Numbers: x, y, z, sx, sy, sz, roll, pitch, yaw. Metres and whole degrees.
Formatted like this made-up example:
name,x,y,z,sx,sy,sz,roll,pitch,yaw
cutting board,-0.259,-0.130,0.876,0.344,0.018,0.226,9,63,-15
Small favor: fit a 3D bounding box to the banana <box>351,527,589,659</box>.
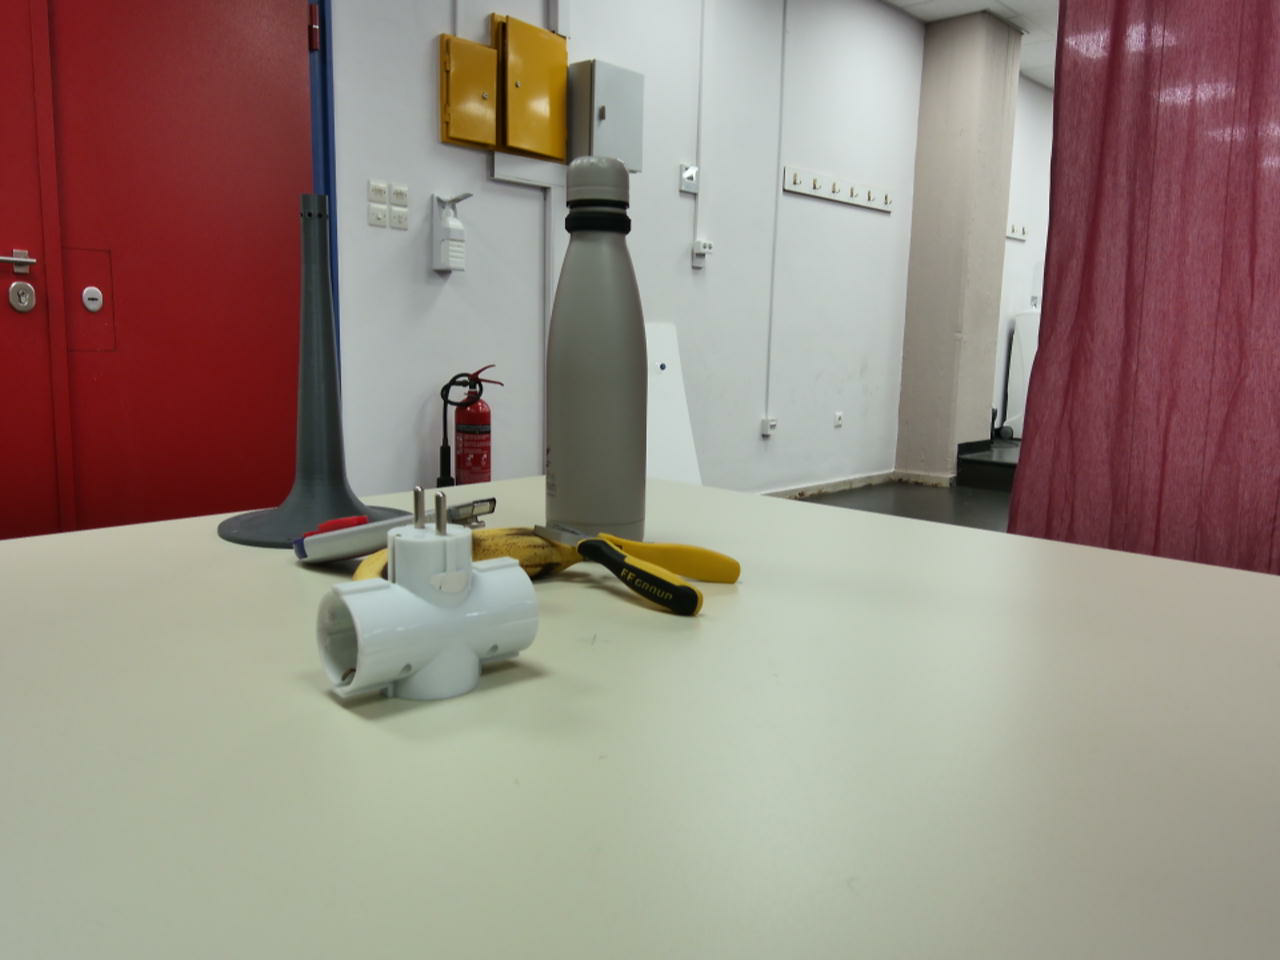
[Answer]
name,x,y,z,sx,sy,sz,roll,pitch,yaw
banana,-0.105,0.055,0.579,0.097,0.038,0.186,3,7,14
